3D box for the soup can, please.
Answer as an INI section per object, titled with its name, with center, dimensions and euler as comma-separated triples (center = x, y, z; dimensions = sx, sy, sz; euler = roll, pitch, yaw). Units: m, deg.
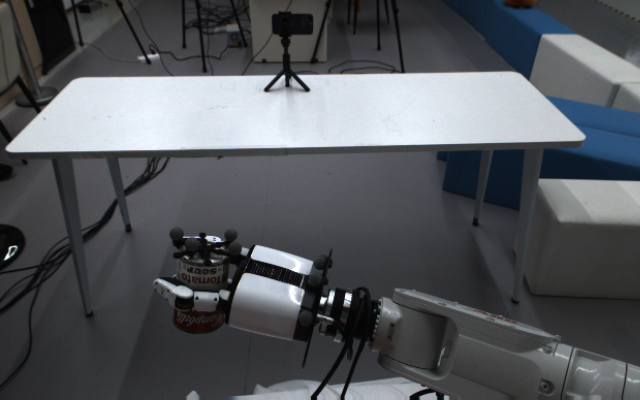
[soup can]
center = -0.154, 0.114, 0.631
dimensions = 0.067, 0.101, 0.067
euler = 8, 19, -3
